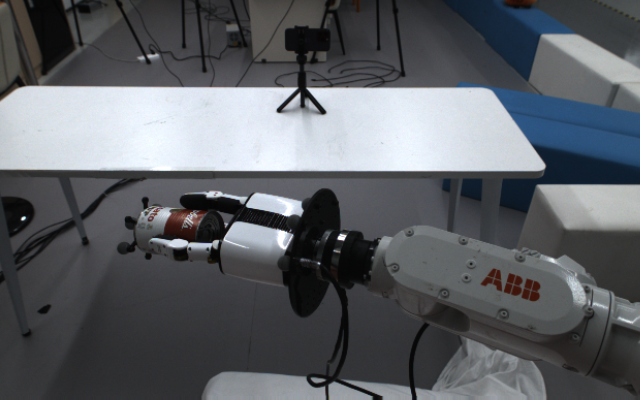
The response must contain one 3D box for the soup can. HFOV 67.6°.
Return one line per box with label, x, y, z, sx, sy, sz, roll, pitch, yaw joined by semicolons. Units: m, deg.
soup can;-0.188;0.046;0.657;0.101;0.067;0.067;4;34;20
